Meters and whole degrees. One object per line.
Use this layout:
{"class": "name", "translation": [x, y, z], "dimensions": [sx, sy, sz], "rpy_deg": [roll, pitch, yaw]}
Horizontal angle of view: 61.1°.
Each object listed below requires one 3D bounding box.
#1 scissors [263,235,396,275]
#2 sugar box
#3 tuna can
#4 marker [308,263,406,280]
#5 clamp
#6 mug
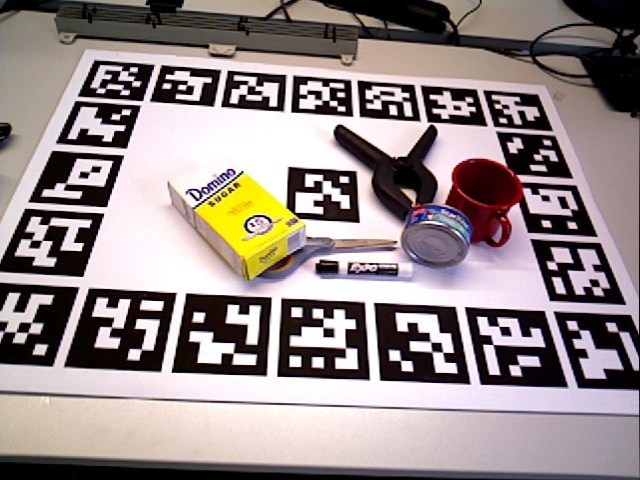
{"class": "scissors", "translation": [0.001, 0.002, 0.692], "dimensions": [0.200, 0.016, 0.086], "rpy_deg": [-4, 49, -12]}
{"class": "sugar box", "translation": [-0.103, -0.033, 0.686], "dimensions": [0.091, 0.046, 0.176], "rpy_deg": [-28, 55, -26]}
{"class": "tuna can", "translation": [0.150, -0.001, 0.672], "dimensions": [0.085, 0.088, 0.033], "rpy_deg": [18, 52, 6]}
{"class": "marker", "translation": [0.046, 0.039, 0.672], "dimensions": [0.120, 0.020, 0.019], "rpy_deg": [1, 53, -5]}
{"class": "clamp", "translation": [0.116, -0.095, 0.784], "dimensions": [0.164, 0.037, 0.200], "rpy_deg": [-5, 55, -11]}
{"class": "mug", "translation": [0.209, -0.036, 0.712], "dimensions": [0.092, 0.083, 0.116], "rpy_deg": [-19, 54, -21]}
